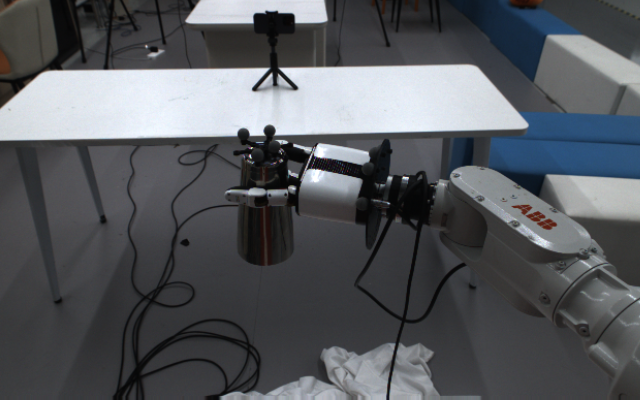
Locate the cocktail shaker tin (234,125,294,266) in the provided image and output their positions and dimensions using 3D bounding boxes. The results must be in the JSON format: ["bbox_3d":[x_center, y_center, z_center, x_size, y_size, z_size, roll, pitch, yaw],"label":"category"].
[{"bbox_3d":[-0.082,0.003,0.741,0.093,0.170,0.093,2,33,-2],"label":"cocktail shaker tin"}]
